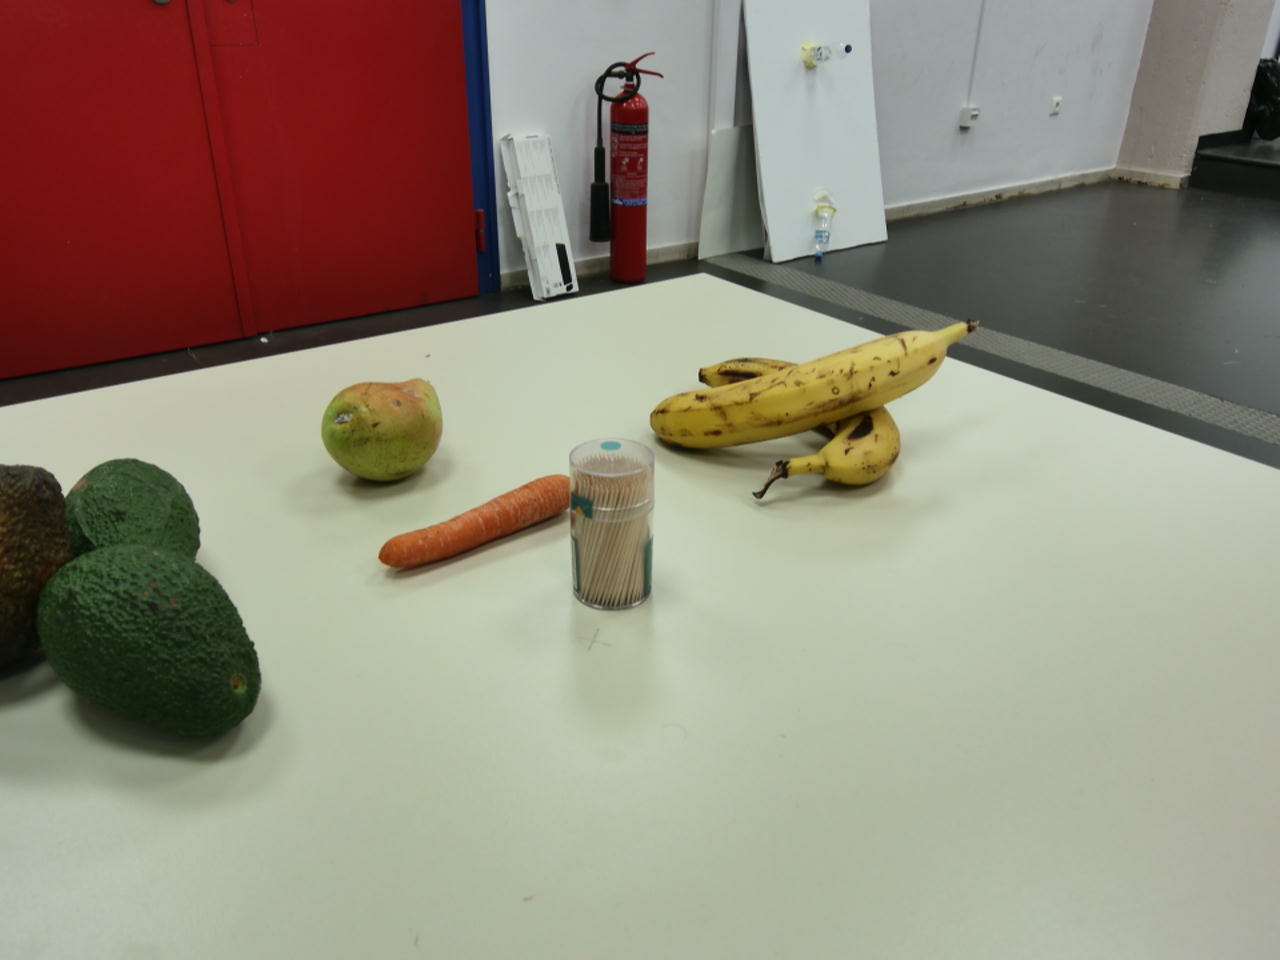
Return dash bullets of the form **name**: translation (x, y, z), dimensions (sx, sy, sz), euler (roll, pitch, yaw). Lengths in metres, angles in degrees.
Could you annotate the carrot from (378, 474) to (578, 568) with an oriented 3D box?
- **carrot**: translation (-0.084, 0.022, 0.536), dimensions (0.122, 0.023, 0.024), euler (-19, 32, -36)
